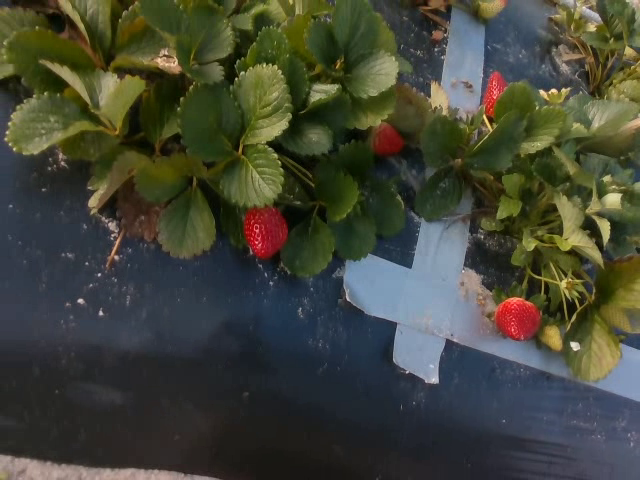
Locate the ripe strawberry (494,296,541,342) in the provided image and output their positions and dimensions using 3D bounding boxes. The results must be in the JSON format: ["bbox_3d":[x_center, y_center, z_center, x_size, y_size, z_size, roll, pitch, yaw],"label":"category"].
[{"bbox_3d":[0.086,0.036,0.247,0.023,0.021,0.026,22,36,8],"label":"ripe strawberry"}]

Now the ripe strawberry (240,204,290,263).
[{"bbox_3d":[-0.020,-0.002,0.208,0.018,0.023,0.021,7,-37,-2],"label":"ripe strawberry"}]
